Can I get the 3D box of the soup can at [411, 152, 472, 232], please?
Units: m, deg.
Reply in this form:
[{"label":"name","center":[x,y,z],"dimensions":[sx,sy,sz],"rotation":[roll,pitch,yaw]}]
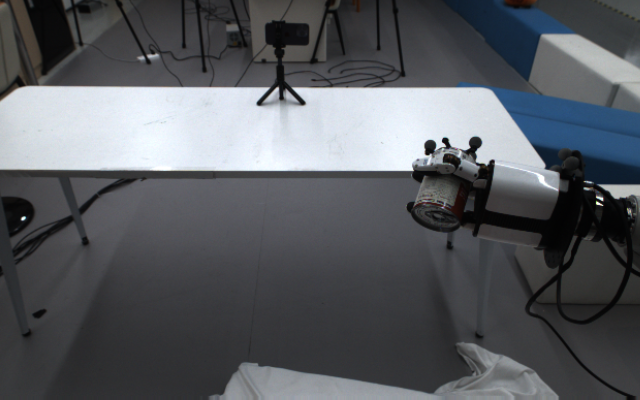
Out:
[{"label":"soup can","center":[0.175,-0.018,0.680],"dimensions":[0.067,0.067,0.101],"rotation":[15,63,18]}]
